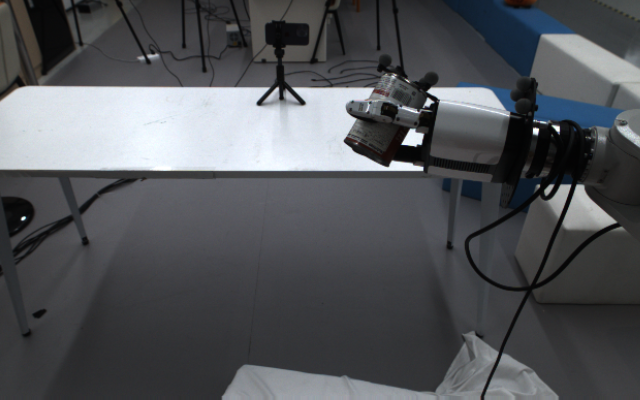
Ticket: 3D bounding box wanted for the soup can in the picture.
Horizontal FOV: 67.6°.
[{"bbox_3d":[0.084,-0.104,0.626,0.067,0.101,0.067,30,1,-1],"label":"soup can"}]
